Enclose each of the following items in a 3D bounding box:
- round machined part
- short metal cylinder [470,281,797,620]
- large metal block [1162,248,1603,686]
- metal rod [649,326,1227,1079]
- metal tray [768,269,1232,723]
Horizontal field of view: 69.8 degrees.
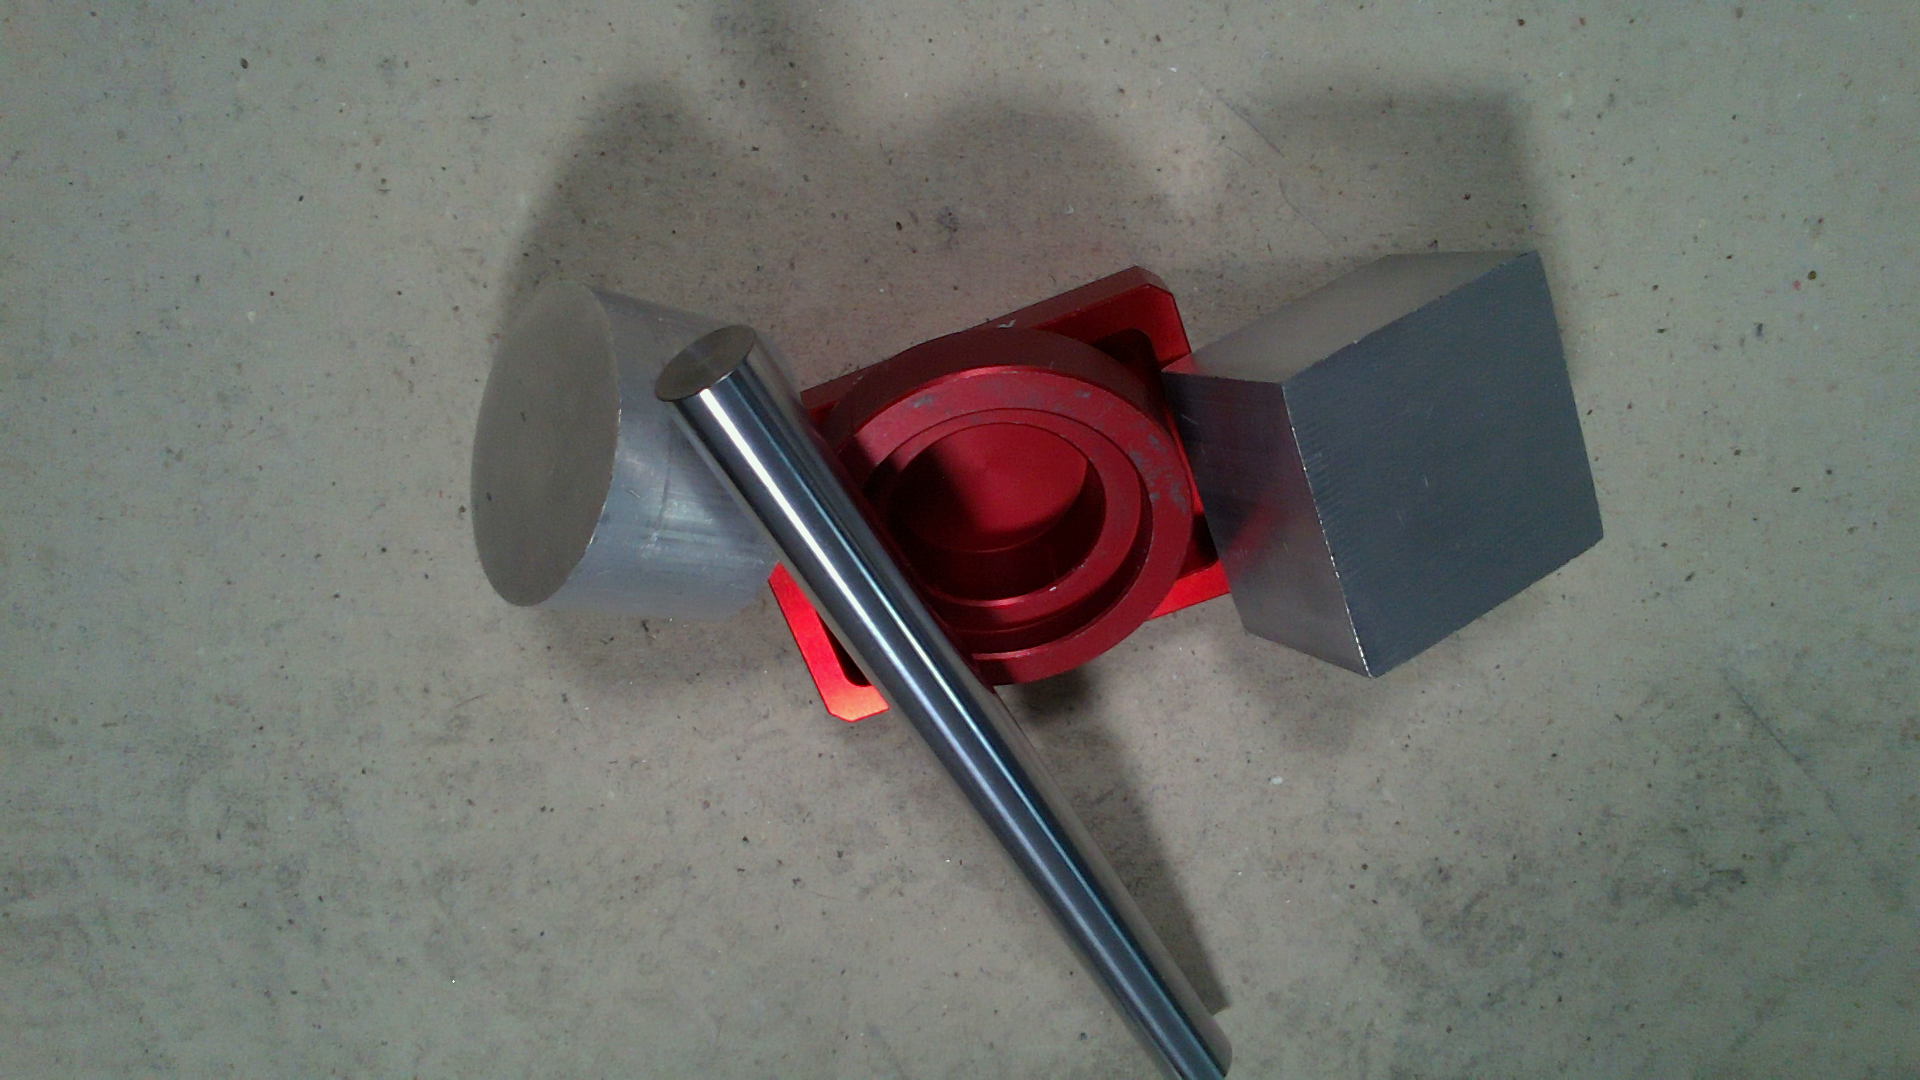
[{"bbox_3d":[0.008,-0.012,0.355,0.098,0.042,0.098,-3,125,-4],"label":"round machined part"},{"bbox_3d":[-0.084,-0.021,0.350,0.050,0.080,0.080,8,115,-41],"label":"short metal cylinder"},{"bbox_3d":[0.110,-0.022,0.355,0.080,0.050,0.080,-28,110,-18],"label":"large metal block"},{"bbox_3d":[0.011,0.068,0.373,0.025,0.025,0.301,-26,125,9],"label":"metal rod"},{"bbox_3d":[0.009,-0.012,0.387,0.130,0.030,0.090,-20,109,7],"label":"metal tray"}]
